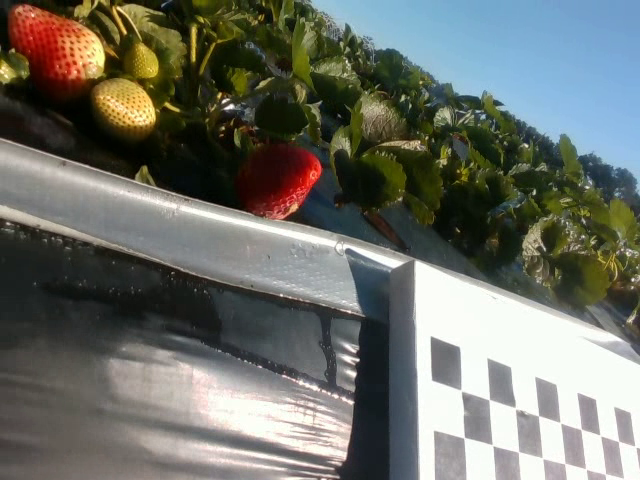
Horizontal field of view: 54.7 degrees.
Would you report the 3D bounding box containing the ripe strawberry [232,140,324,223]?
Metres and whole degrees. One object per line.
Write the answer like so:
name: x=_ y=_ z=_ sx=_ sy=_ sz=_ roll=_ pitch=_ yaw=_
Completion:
ripe strawberry: x=-0.014 y=-0.024 z=0.241 sx=0.036 sy=0.038 sz=0.046 roll=20 pitch=-16 yaw=-31
